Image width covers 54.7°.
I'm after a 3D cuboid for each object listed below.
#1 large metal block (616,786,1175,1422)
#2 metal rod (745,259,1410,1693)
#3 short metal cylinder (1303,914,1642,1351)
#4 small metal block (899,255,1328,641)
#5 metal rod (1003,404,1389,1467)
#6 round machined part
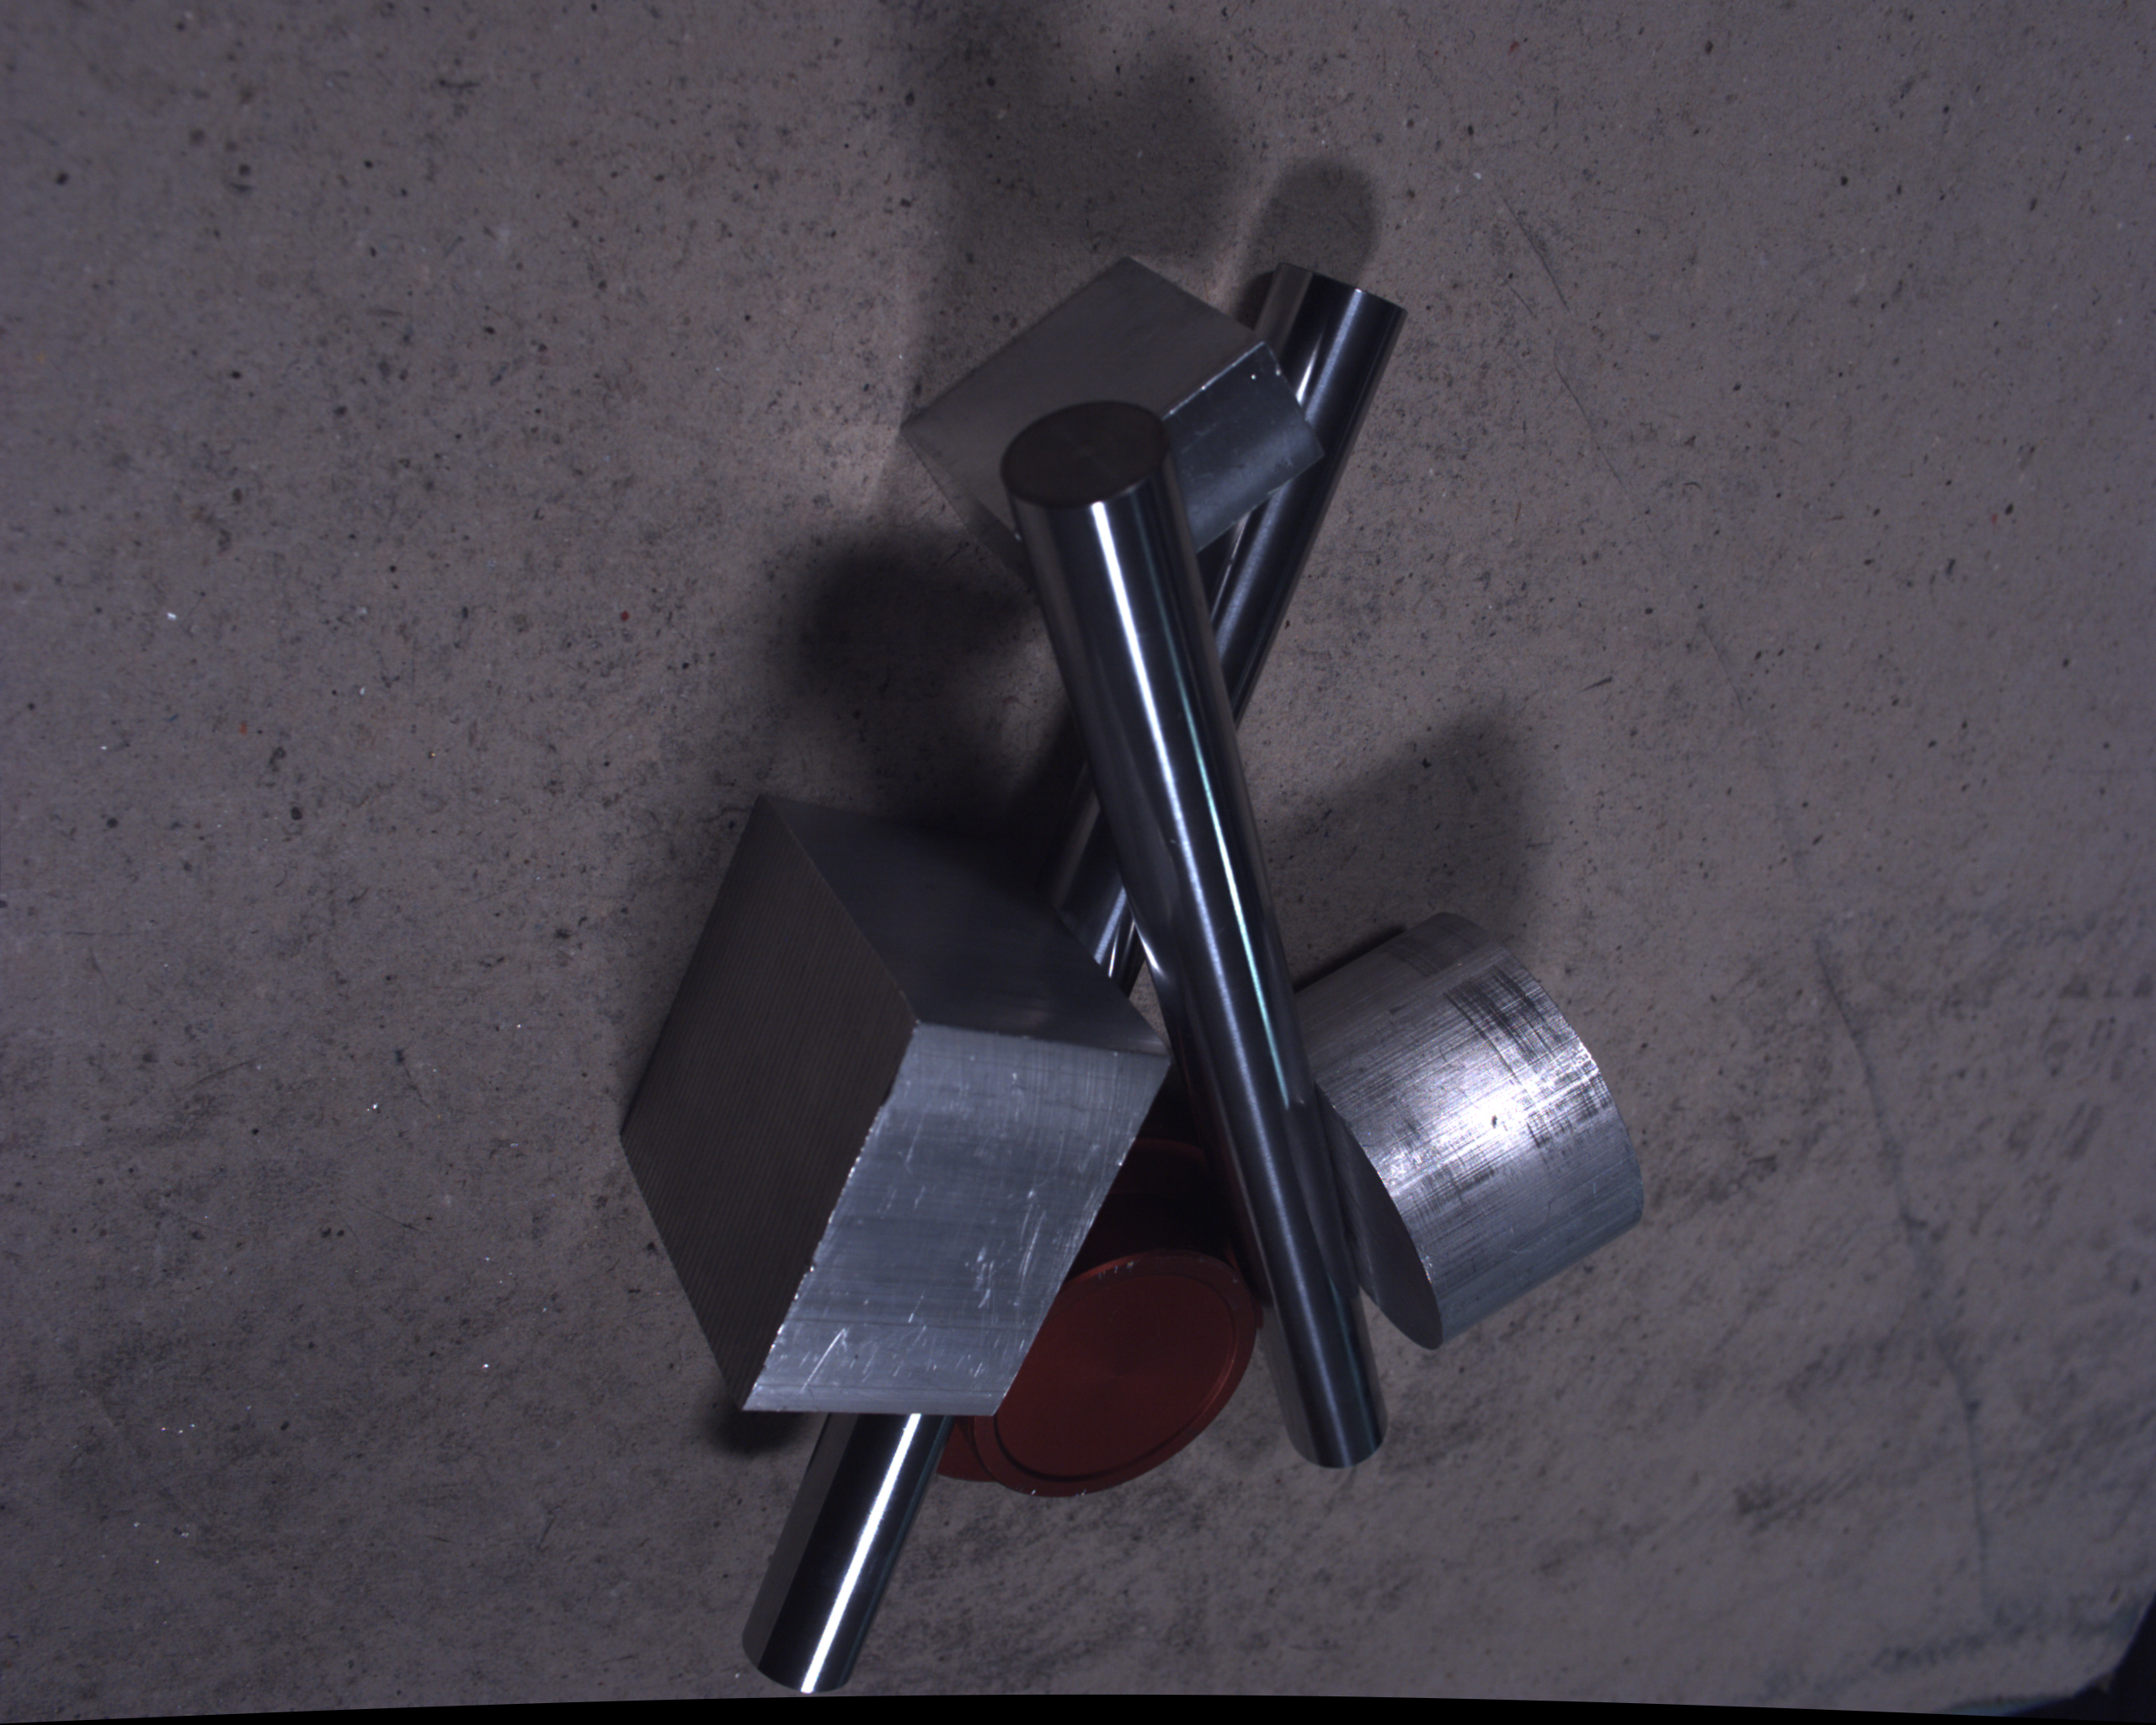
[{"bbox_3d":[-0.037,0.044,0.381,0.050,0.080,0.079,12,112,-34],"label":"large metal block"},{"bbox_3d":[-0.005,0.032,0.407,0.025,0.025,0.298,12,106,-34],"label":"metal rod"},{"bbox_3d":[0.077,0.058,0.453,0.050,0.080,0.080,-29,129,-11],"label":"short metal cylinder"},{"bbox_3d":[0.005,-0.071,0.352,0.050,0.050,0.025,-38,130,-3],"label":"small metal block"},{"bbox_3d":[0.033,0.040,0.408,0.025,0.025,0.299,-29,137,-10],"label":"metal rod"},{"bbox_3d":[0.000,0.101,0.462,0.099,0.042,0.097,-14,125,-21],"label":"round machined part"}]
